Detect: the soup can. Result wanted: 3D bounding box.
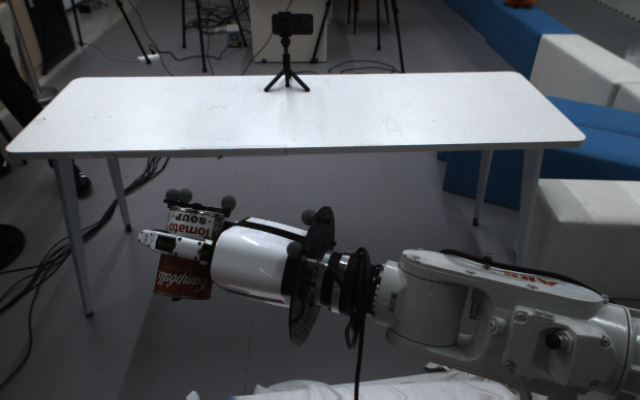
[{"bbox_3d":[-0.155,0.064,0.579,0.067,0.101,0.067,9,-6,1],"label":"soup can"}]
